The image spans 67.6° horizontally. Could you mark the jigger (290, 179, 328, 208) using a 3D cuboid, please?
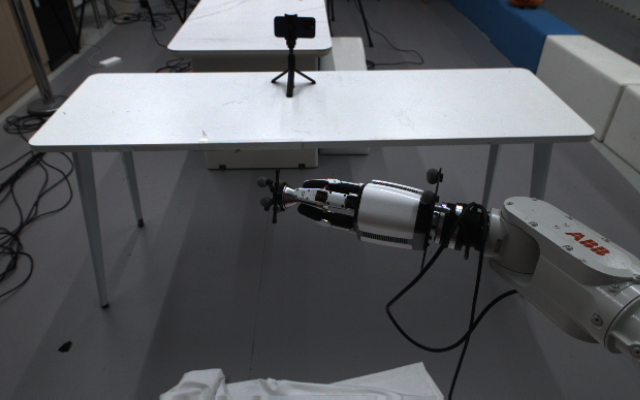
[{"bbox_3d":[-0.014,-0.008,0.766,0.071,0.043,0.043,3,34,15],"label":"jigger"}]
